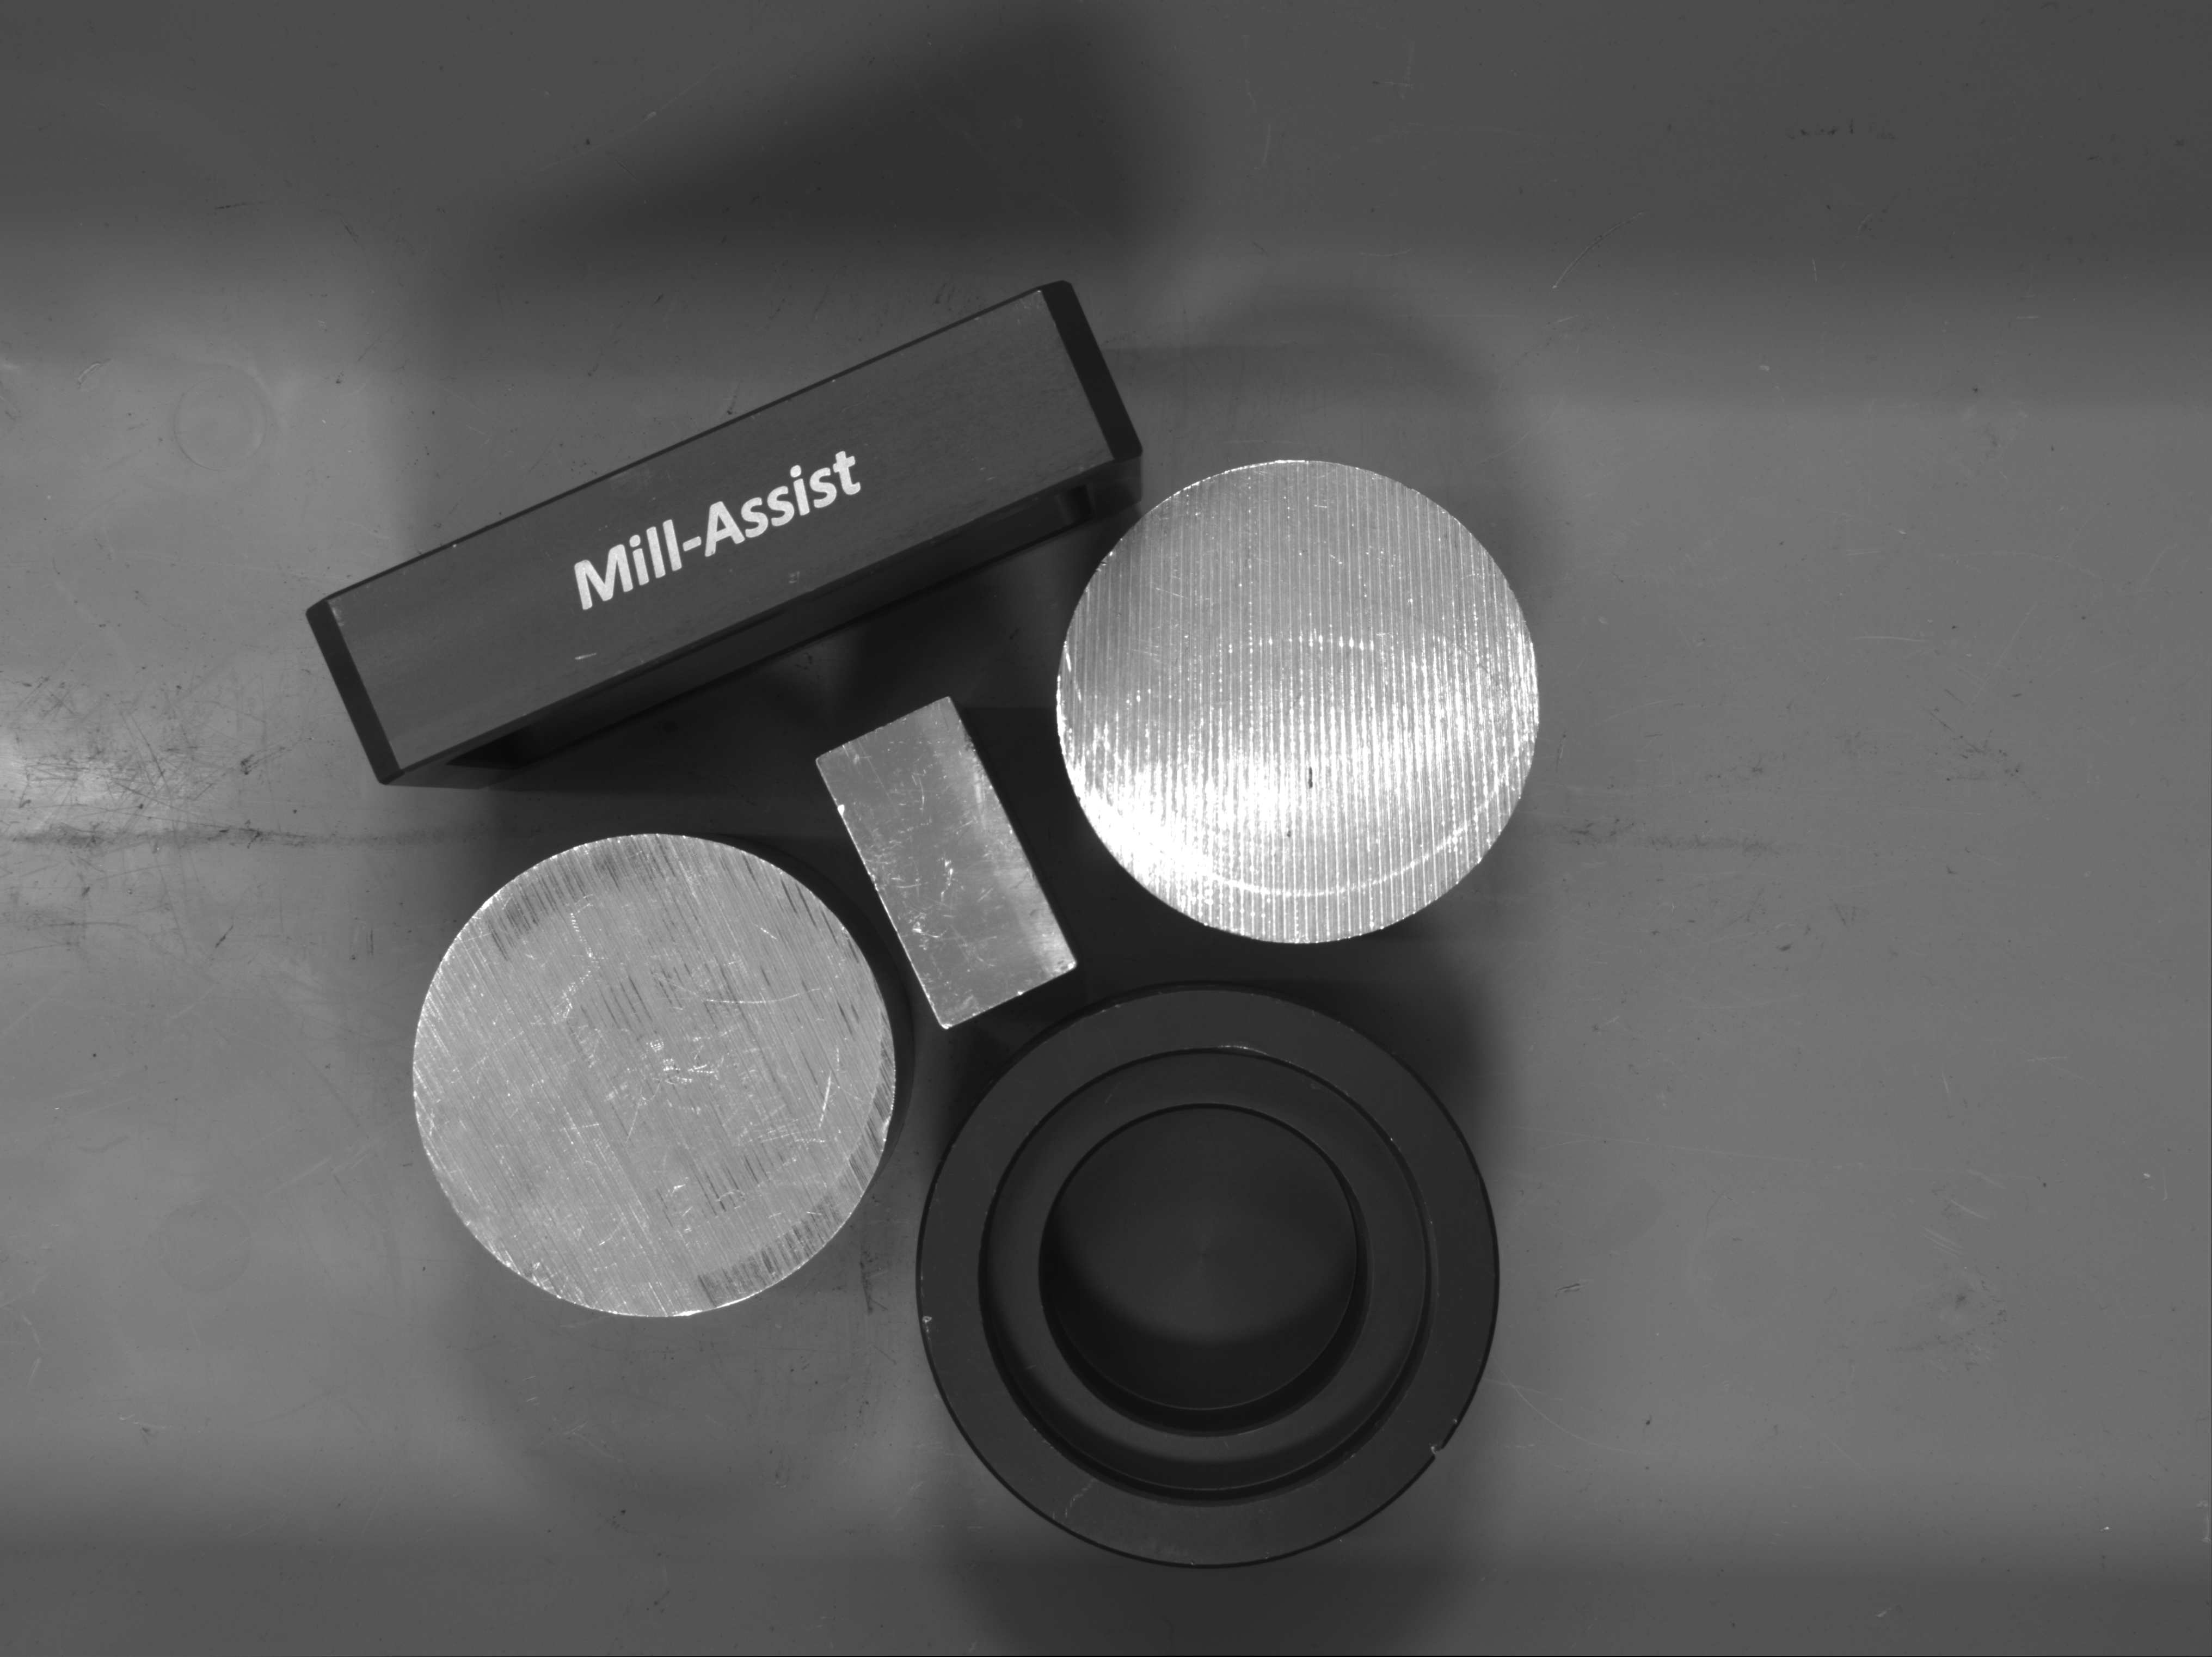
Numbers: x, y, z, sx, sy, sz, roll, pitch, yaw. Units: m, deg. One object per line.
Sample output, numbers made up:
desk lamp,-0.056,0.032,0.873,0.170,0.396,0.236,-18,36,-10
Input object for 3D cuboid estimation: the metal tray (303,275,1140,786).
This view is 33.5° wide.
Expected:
metal tray,-0.059,-0.047,0.611,0.130,0.090,0.030,-24,90,1

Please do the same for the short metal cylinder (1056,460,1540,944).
short metal cylinder,0.032,-0.021,0.632,0.080,0.050,0.080,0,90,0

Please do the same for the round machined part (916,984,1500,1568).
round machined part,0.017,0.075,0.636,0.098,0.042,0.098,0,90,0

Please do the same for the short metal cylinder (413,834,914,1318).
short metal cylinder,-0.074,0.041,0.632,0.080,0.050,0.080,0,90,0

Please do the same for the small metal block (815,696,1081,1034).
small metal block,-0.026,0.006,0.631,0.025,0.050,0.050,-25,90,0
